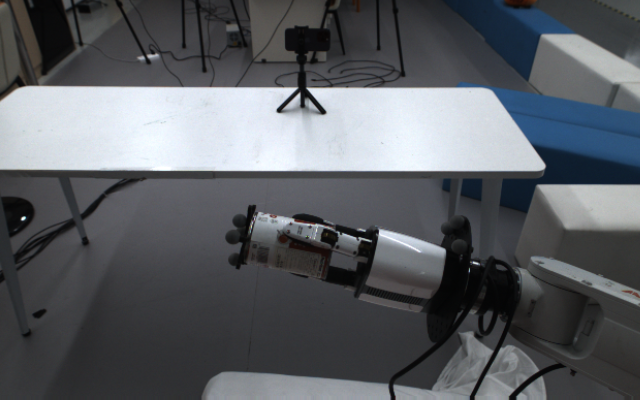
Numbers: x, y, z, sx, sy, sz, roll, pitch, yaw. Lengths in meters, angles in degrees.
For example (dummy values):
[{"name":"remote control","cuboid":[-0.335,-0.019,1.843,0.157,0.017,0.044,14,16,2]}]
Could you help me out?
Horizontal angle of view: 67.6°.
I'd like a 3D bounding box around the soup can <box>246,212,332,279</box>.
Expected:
[{"name":"soup can","cuboid":[-0.034,0.056,0.601,0.101,0.067,0.067,11,35,-2]}]
